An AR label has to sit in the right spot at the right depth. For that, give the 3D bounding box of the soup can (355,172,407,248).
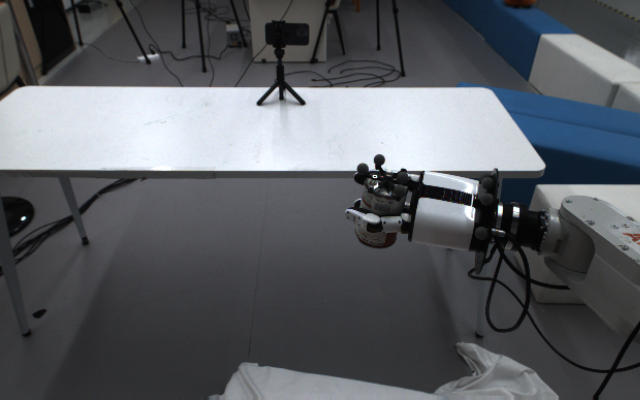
[{"bbox_3d":[0.095,0.016,0.749,0.067,0.101,0.067,5,36,-3],"label":"soup can"}]
